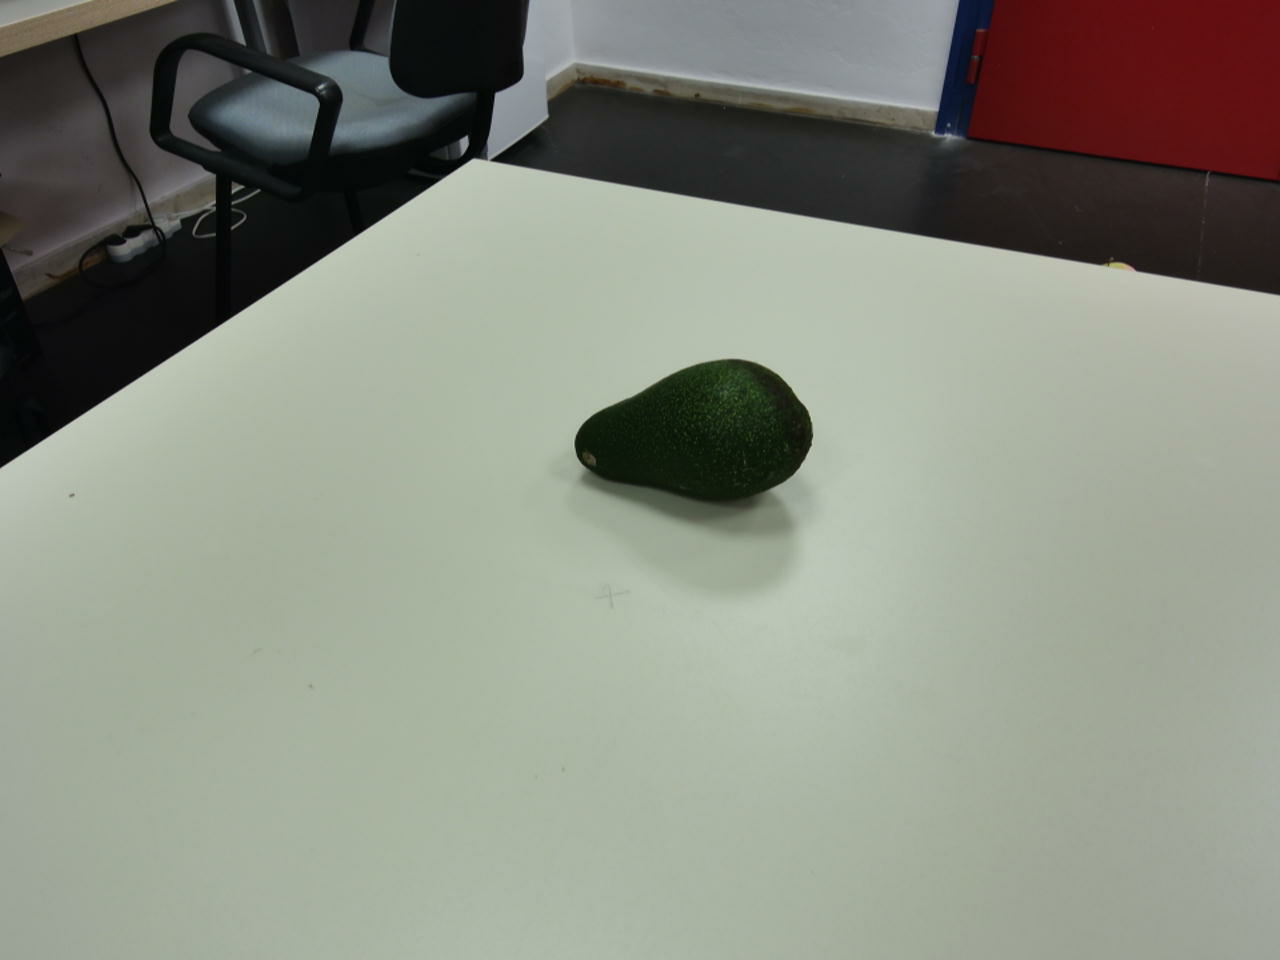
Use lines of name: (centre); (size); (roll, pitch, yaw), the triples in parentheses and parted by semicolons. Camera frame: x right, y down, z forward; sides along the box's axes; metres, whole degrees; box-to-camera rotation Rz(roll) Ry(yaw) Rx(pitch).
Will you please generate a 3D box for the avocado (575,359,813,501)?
avocado: (0.031, -0.031, 0.524); (0.123, 0.076, 0.074); (21, 43, 25)
